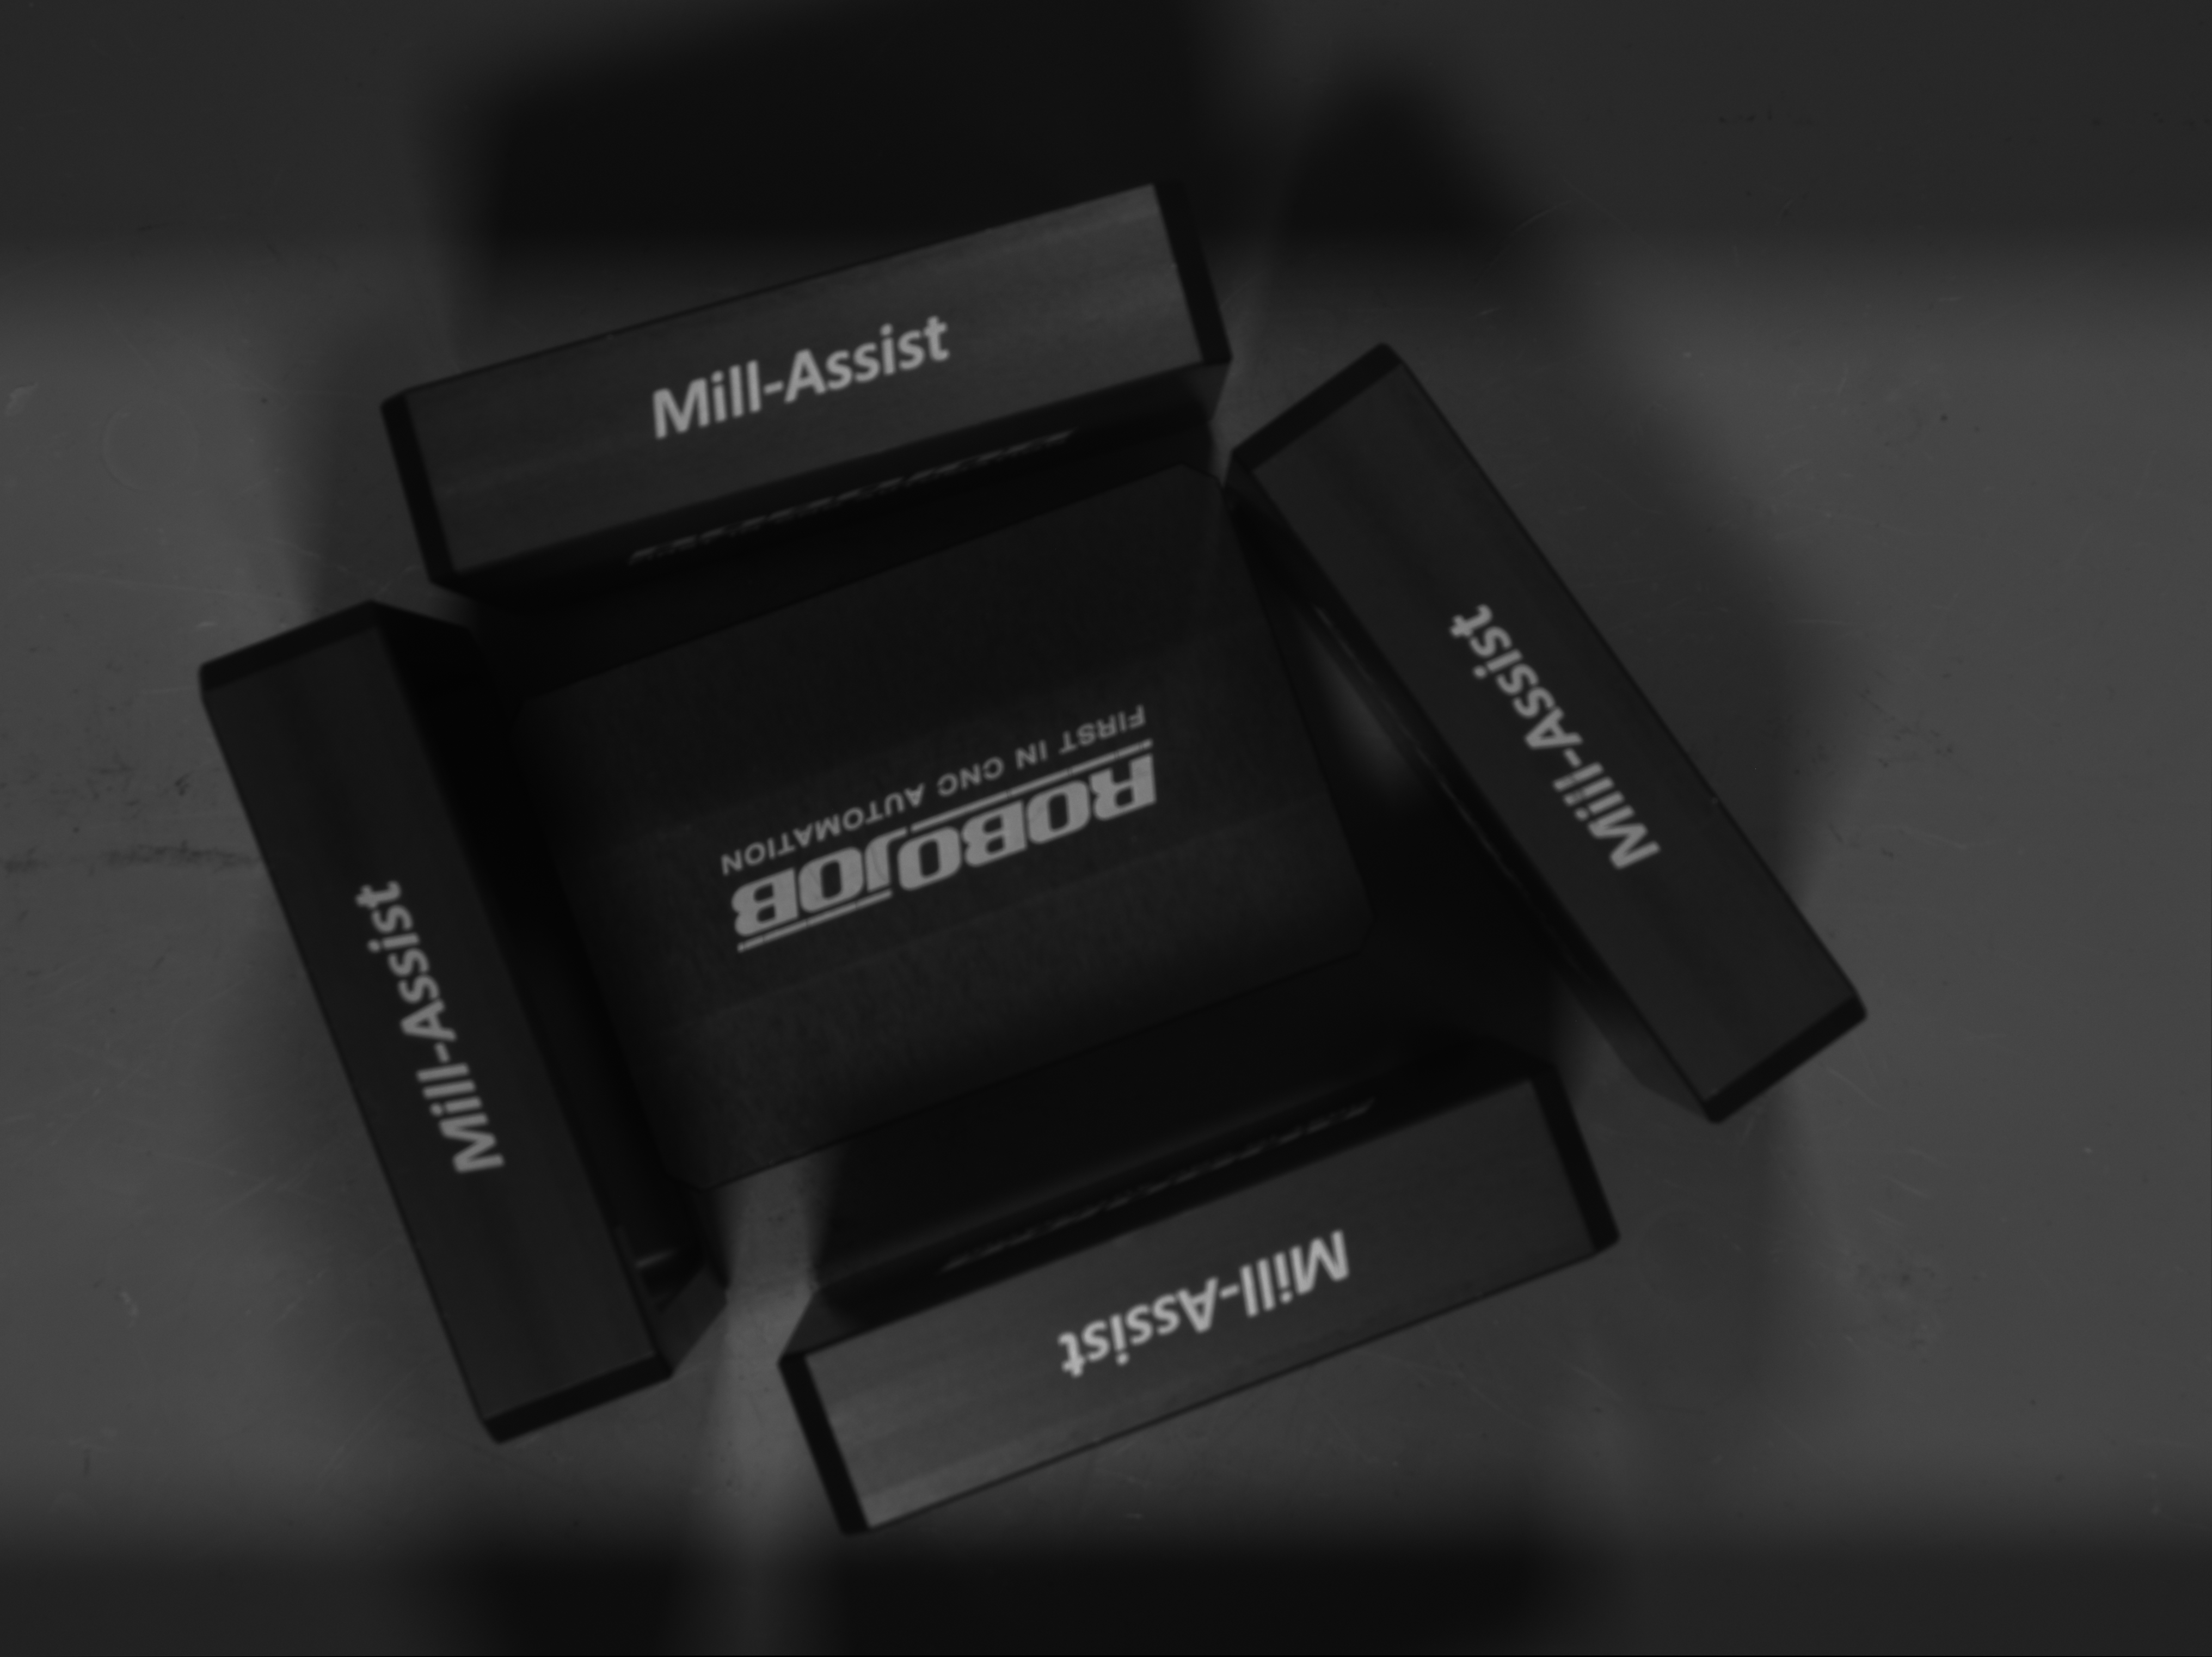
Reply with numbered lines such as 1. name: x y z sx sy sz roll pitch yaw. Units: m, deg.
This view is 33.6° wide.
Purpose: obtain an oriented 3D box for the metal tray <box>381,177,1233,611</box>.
1. metal tray: -0.047 -0.070 0.611 0.130 0.090 0.030 -16 90 0

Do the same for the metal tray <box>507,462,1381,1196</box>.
1. metal tray: -0.028 0.000 0.640 0.130 0.030 0.090 -20 90 -1

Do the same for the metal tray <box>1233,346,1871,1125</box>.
1. metal tray: 0.070 -0.015 0.612 0.030 0.090 0.130 -36 90 0

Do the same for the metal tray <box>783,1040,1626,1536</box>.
1. metal tray: 0.015 0.074 0.611 0.130 0.090 0.030 -21 90 0

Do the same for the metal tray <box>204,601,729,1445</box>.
1. metal tray: -0.104 0.030 0.610 0.030 0.090 0.130 -21 90 0
